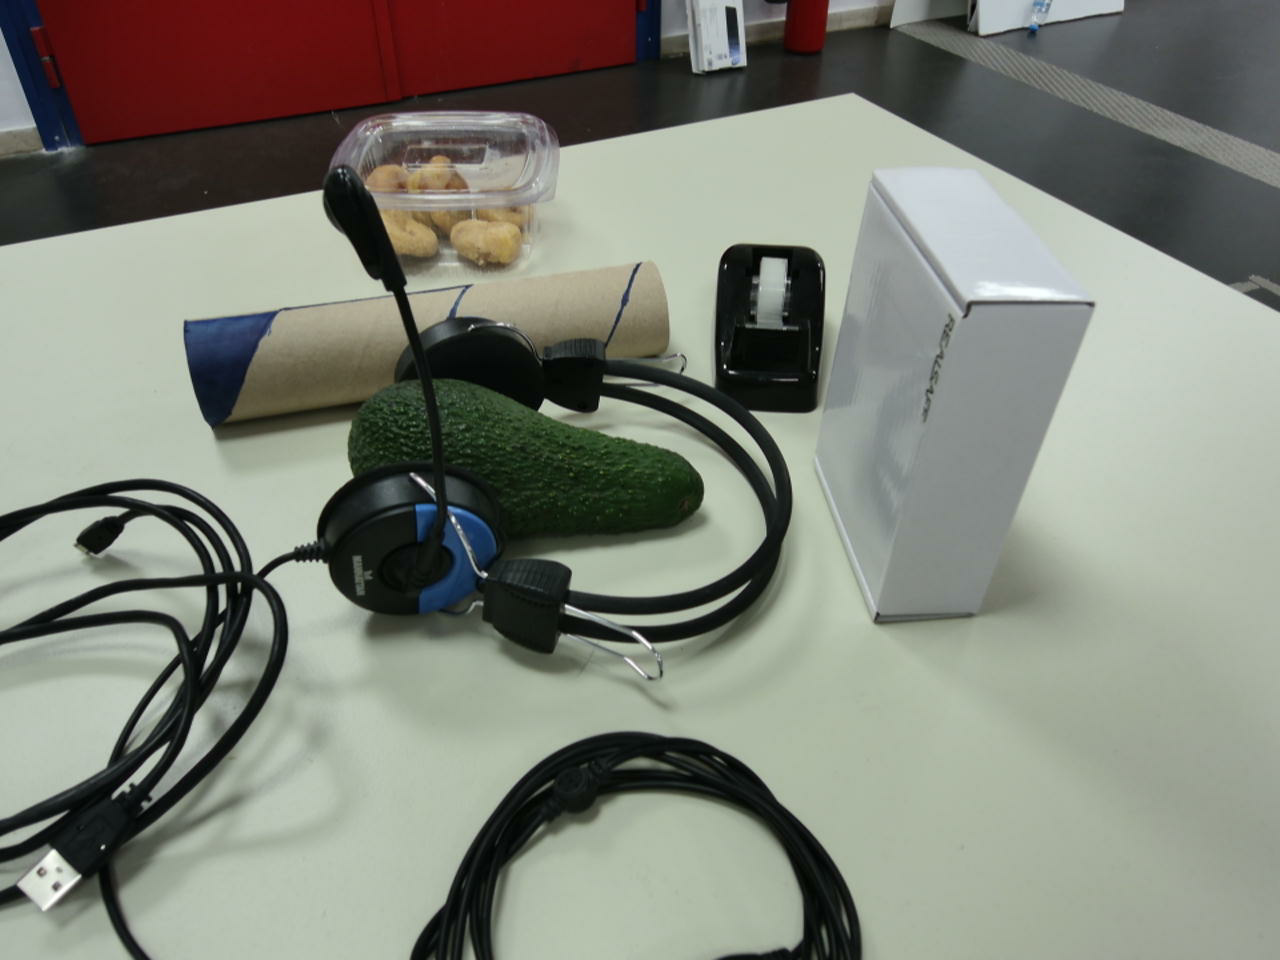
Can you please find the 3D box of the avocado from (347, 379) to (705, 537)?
[{"bbox_3d":[-0.046,-0.013,0.406,0.141,0.067,0.063,-7,38,-10],"label":"avocado"}]
